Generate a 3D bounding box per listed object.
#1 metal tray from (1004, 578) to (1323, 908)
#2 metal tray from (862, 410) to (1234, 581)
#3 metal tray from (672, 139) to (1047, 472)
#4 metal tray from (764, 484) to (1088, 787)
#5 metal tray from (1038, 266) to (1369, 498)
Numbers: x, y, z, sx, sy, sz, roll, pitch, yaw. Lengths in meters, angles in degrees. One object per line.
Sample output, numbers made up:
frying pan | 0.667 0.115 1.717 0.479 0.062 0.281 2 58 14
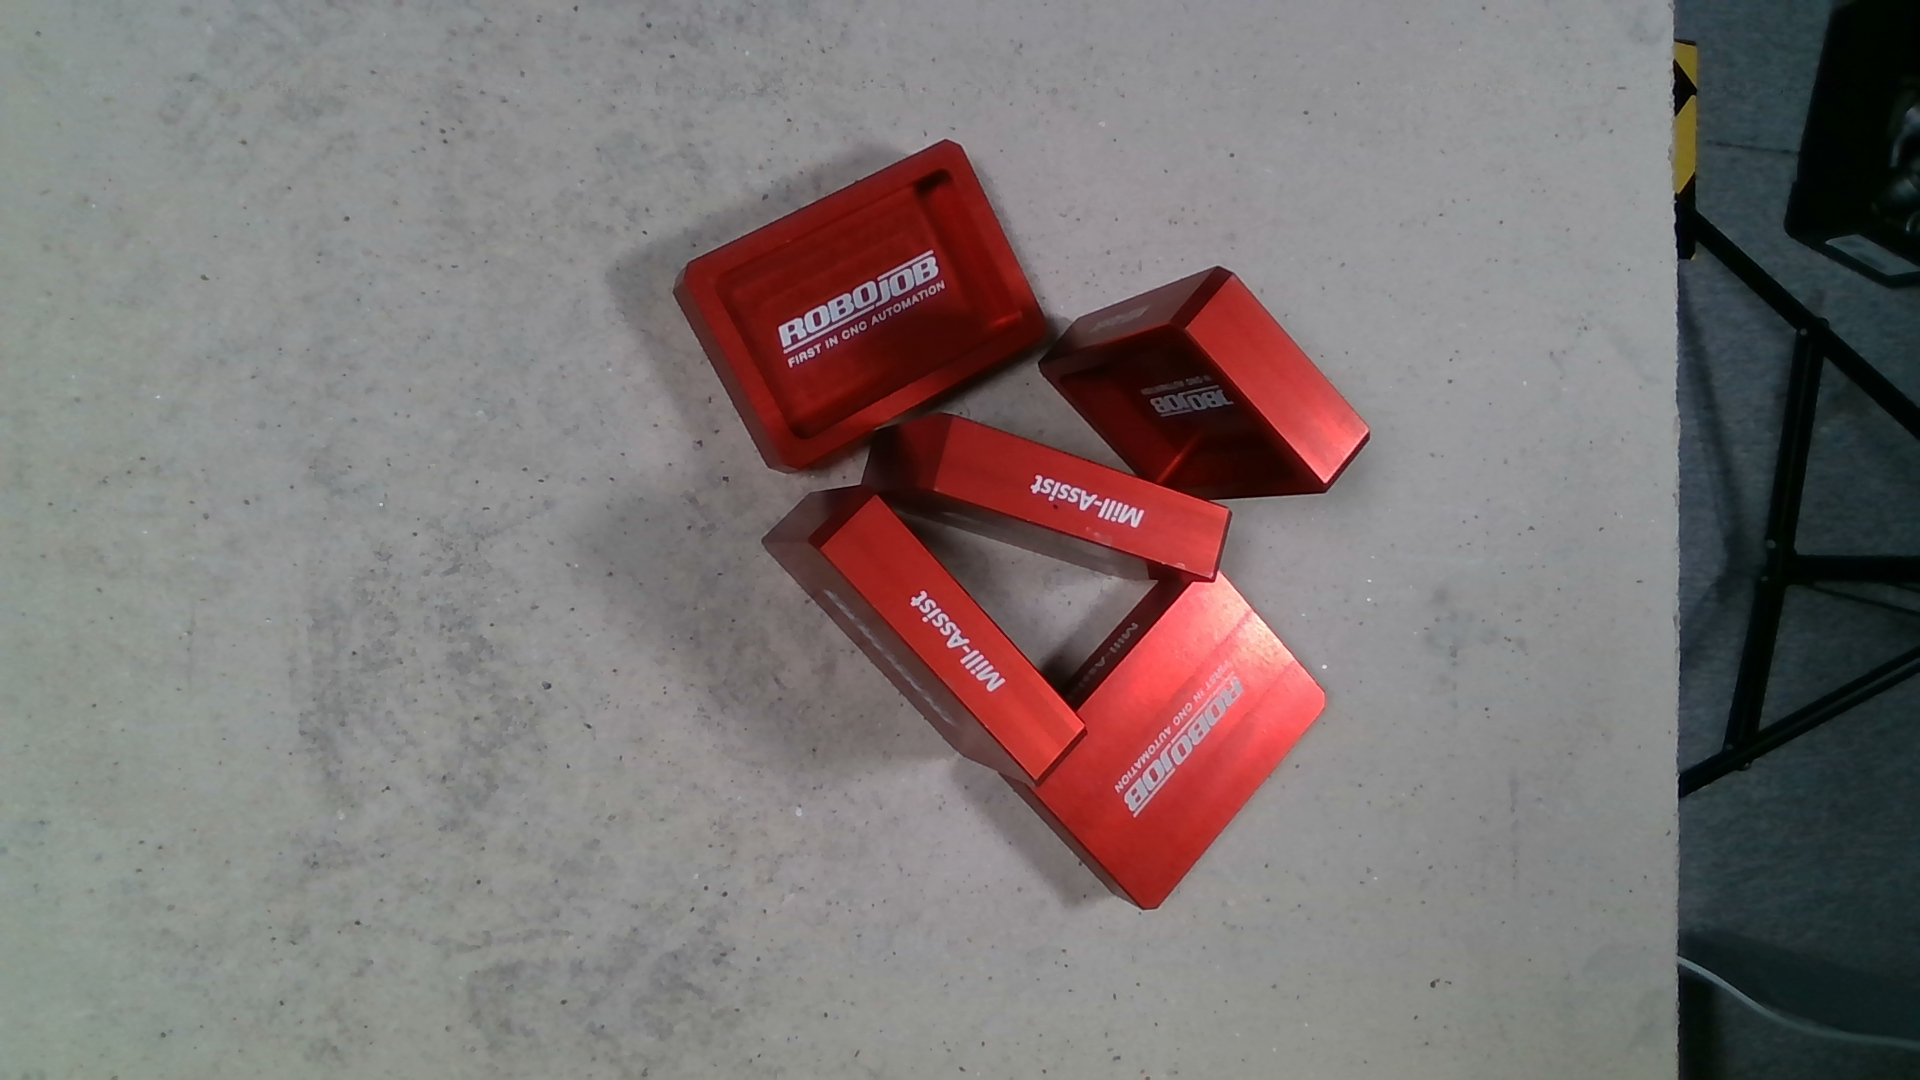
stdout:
metal tray | 0.092 0.086 0.618 0.130 0.030 0.090 -46 105 -14
metal tray | 0.033 -0.015 0.563 0.130 0.090 0.030 17 84 -19
metal tray | -0.040 -0.097 0.568 0.130 0.030 0.090 -30 100 -18
metal tray | -0.016 0.037 0.545 0.030 0.090 0.130 -46 104 -15
metal tray | 0.095 -0.059 0.565 0.090 0.130 0.030 45 76 -15
